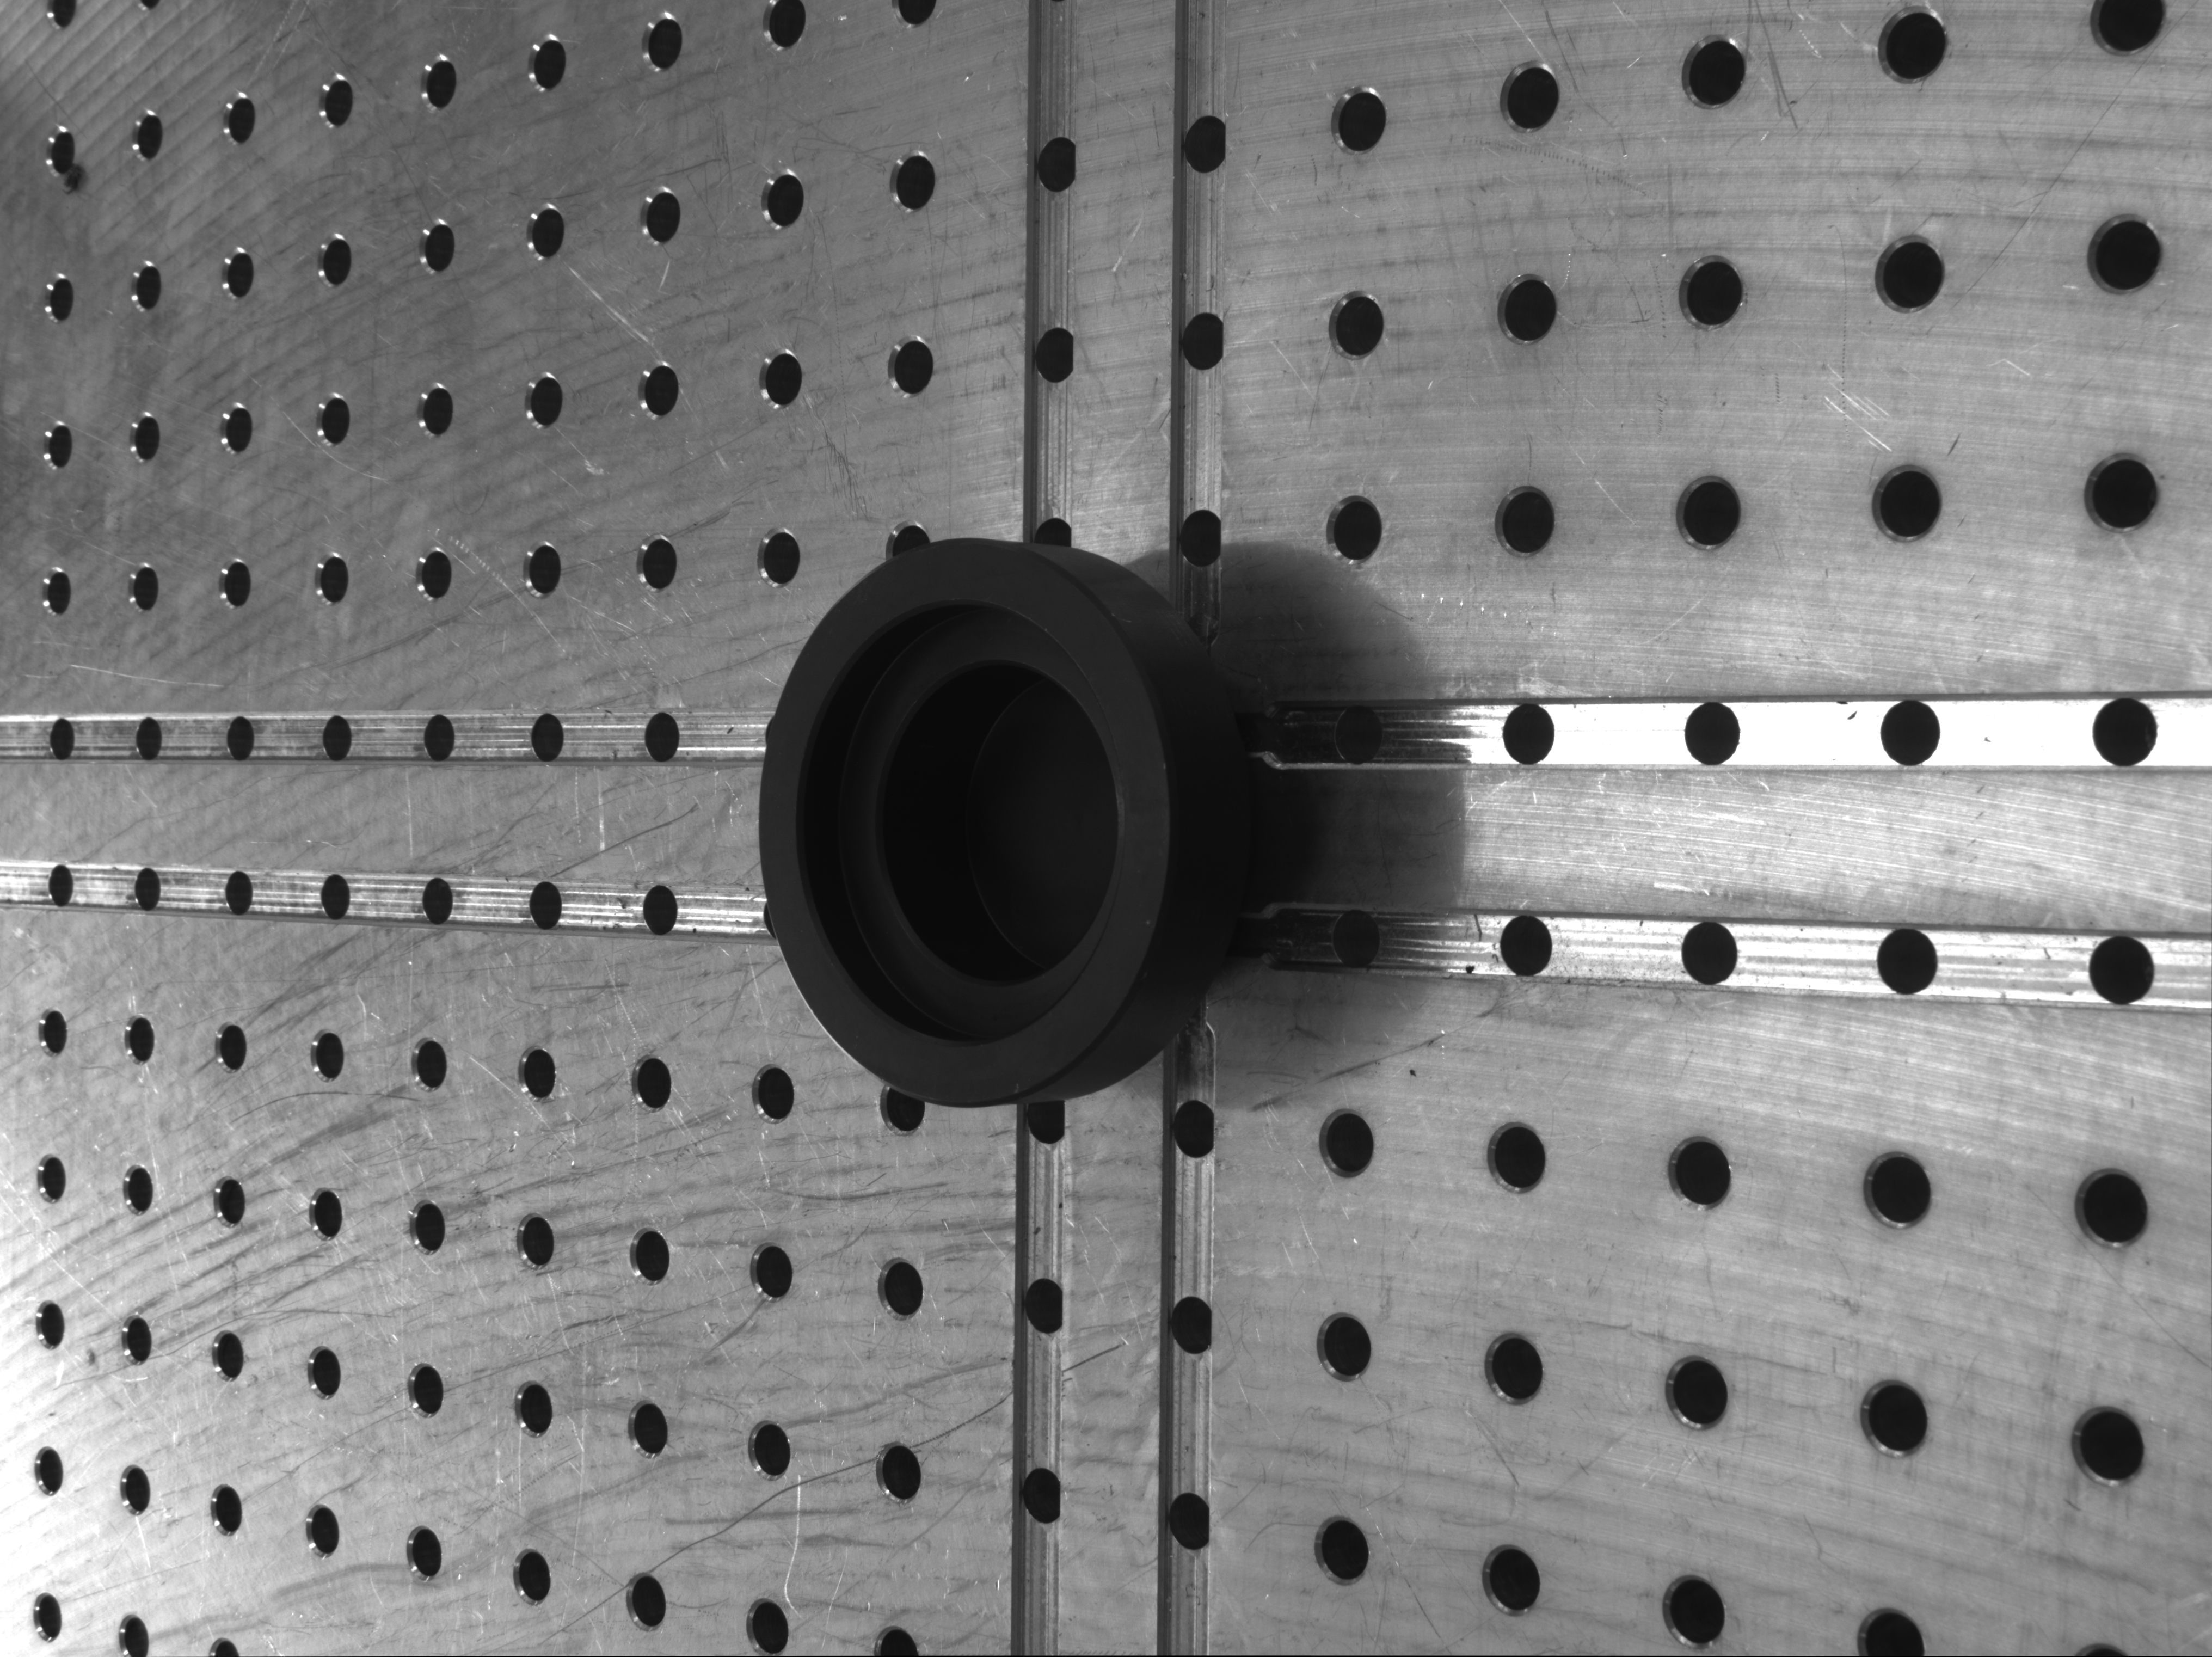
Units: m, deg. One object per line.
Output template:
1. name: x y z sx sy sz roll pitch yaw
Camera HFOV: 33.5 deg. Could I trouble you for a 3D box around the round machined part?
1. round machined part: -0.013 -0.001 0.648 0.098 0.042 0.098 0 90 40
